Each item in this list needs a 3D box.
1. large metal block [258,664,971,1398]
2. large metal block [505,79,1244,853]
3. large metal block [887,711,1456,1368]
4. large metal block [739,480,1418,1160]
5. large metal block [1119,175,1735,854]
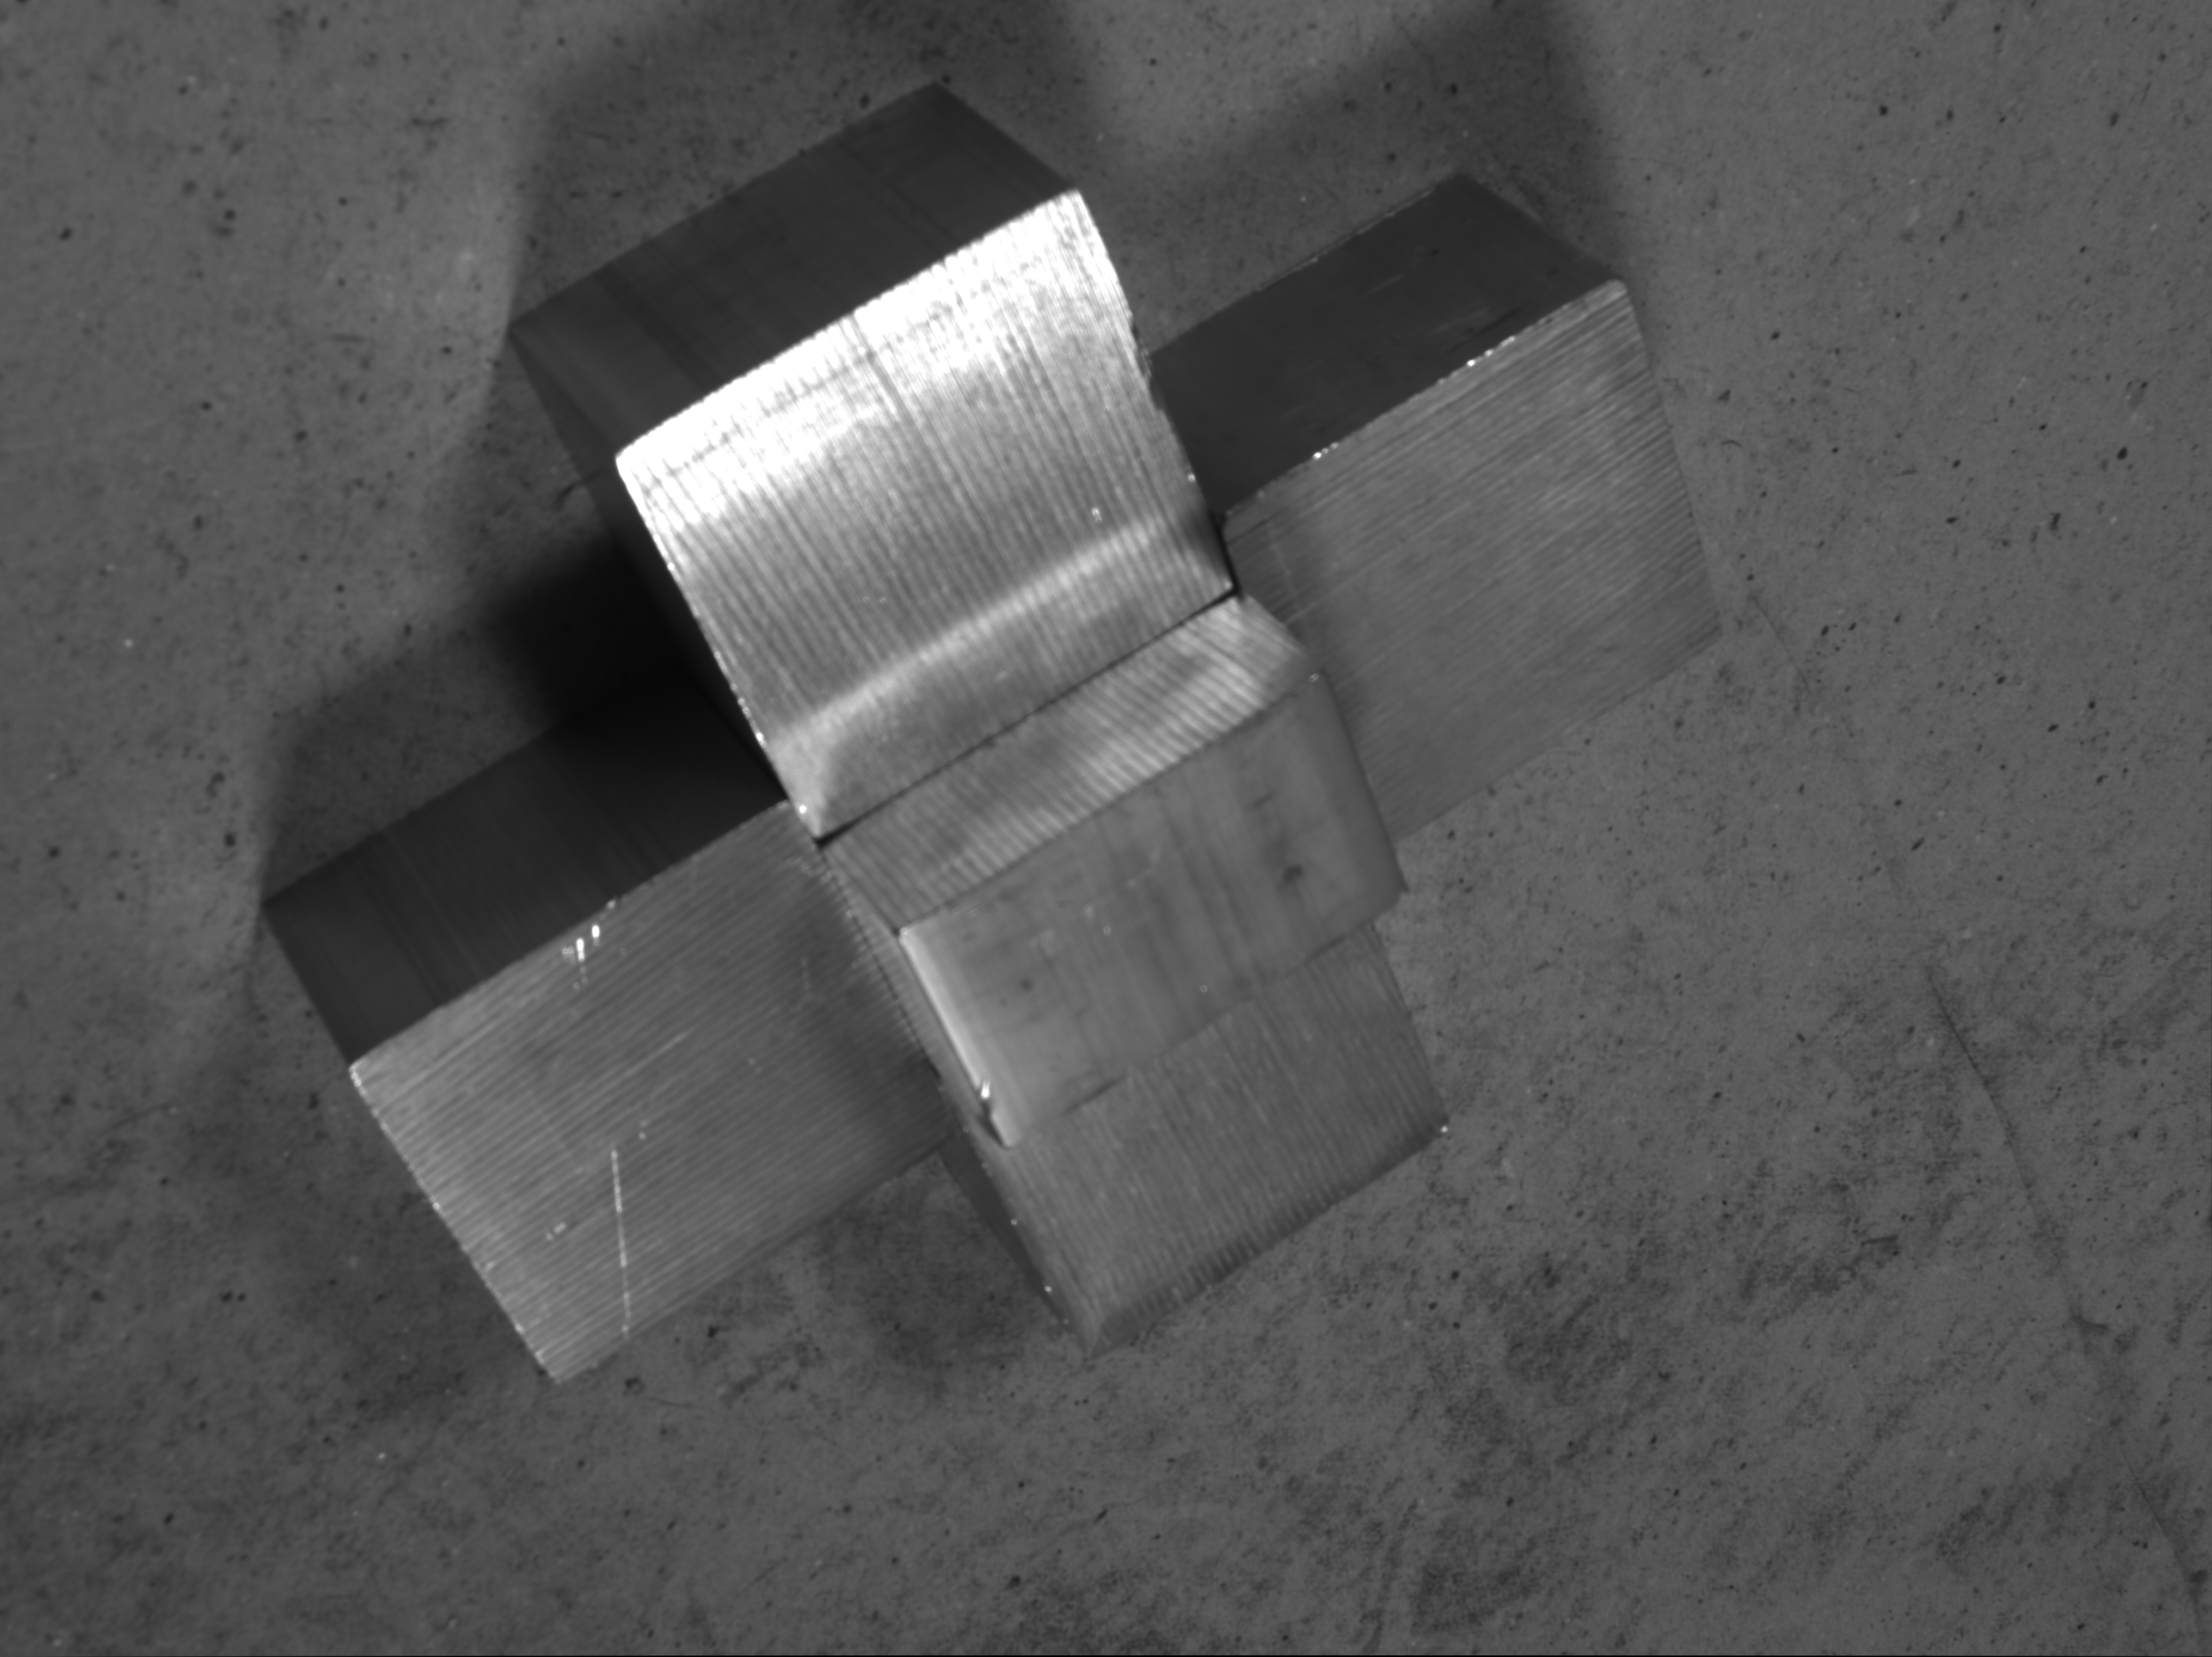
[{"bbox_3d":[-0.080,0.033,0.607,0.080,0.050,0.080,-32,129,-9],"label":"large metal block"},{"bbox_3d":[-0.035,-0.057,0.578,0.080,0.050,0.080,-32,129,-9],"label":"large metal block"},{"bbox_3d":[0.007,0.036,0.660,0.080,0.050,0.080,-32,129,-9],"label":"large metal block"},{"bbox_3d":[-0.008,-0.005,0.607,0.080,0.080,0.050,-32,129,-9],"label":"large metal block"},{"bbox_3d":[0.053,-0.052,0.633,0.080,0.050,0.080,-32,129,-9],"label":"large metal block"}]
